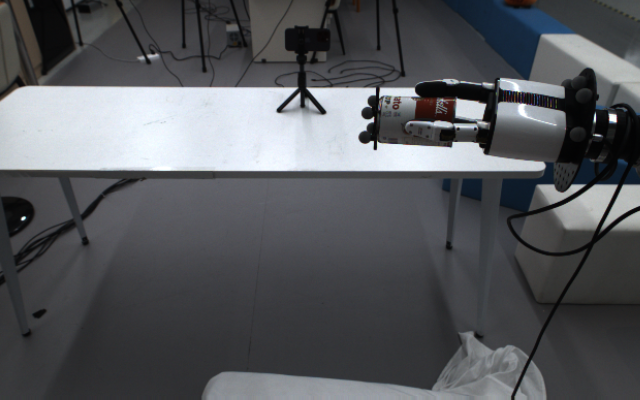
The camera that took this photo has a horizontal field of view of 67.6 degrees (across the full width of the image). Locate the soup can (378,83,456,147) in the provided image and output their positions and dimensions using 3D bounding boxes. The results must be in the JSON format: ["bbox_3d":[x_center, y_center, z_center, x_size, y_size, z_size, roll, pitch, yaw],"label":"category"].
[{"bbox_3d":[0.135,-0.111,0.673,0.101,0.067,0.067,5,34,13],"label":"soup can"}]
